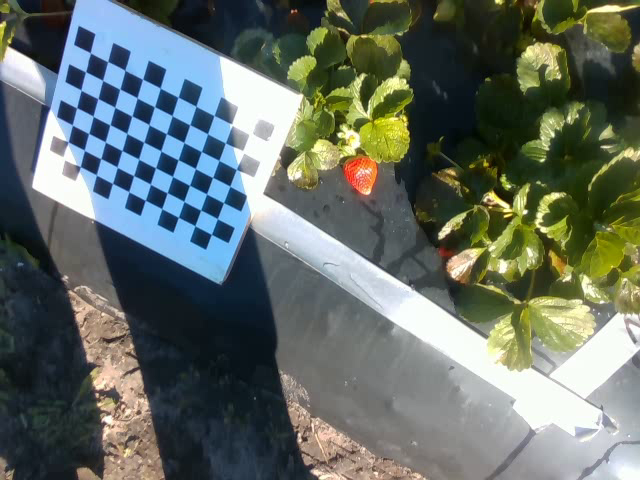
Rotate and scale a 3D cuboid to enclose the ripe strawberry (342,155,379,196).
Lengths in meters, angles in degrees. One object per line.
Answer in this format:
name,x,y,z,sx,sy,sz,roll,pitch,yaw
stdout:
ripe strawberry,0.051,-0.080,0.750,0.048,0.055,0.030,-16,14,21
